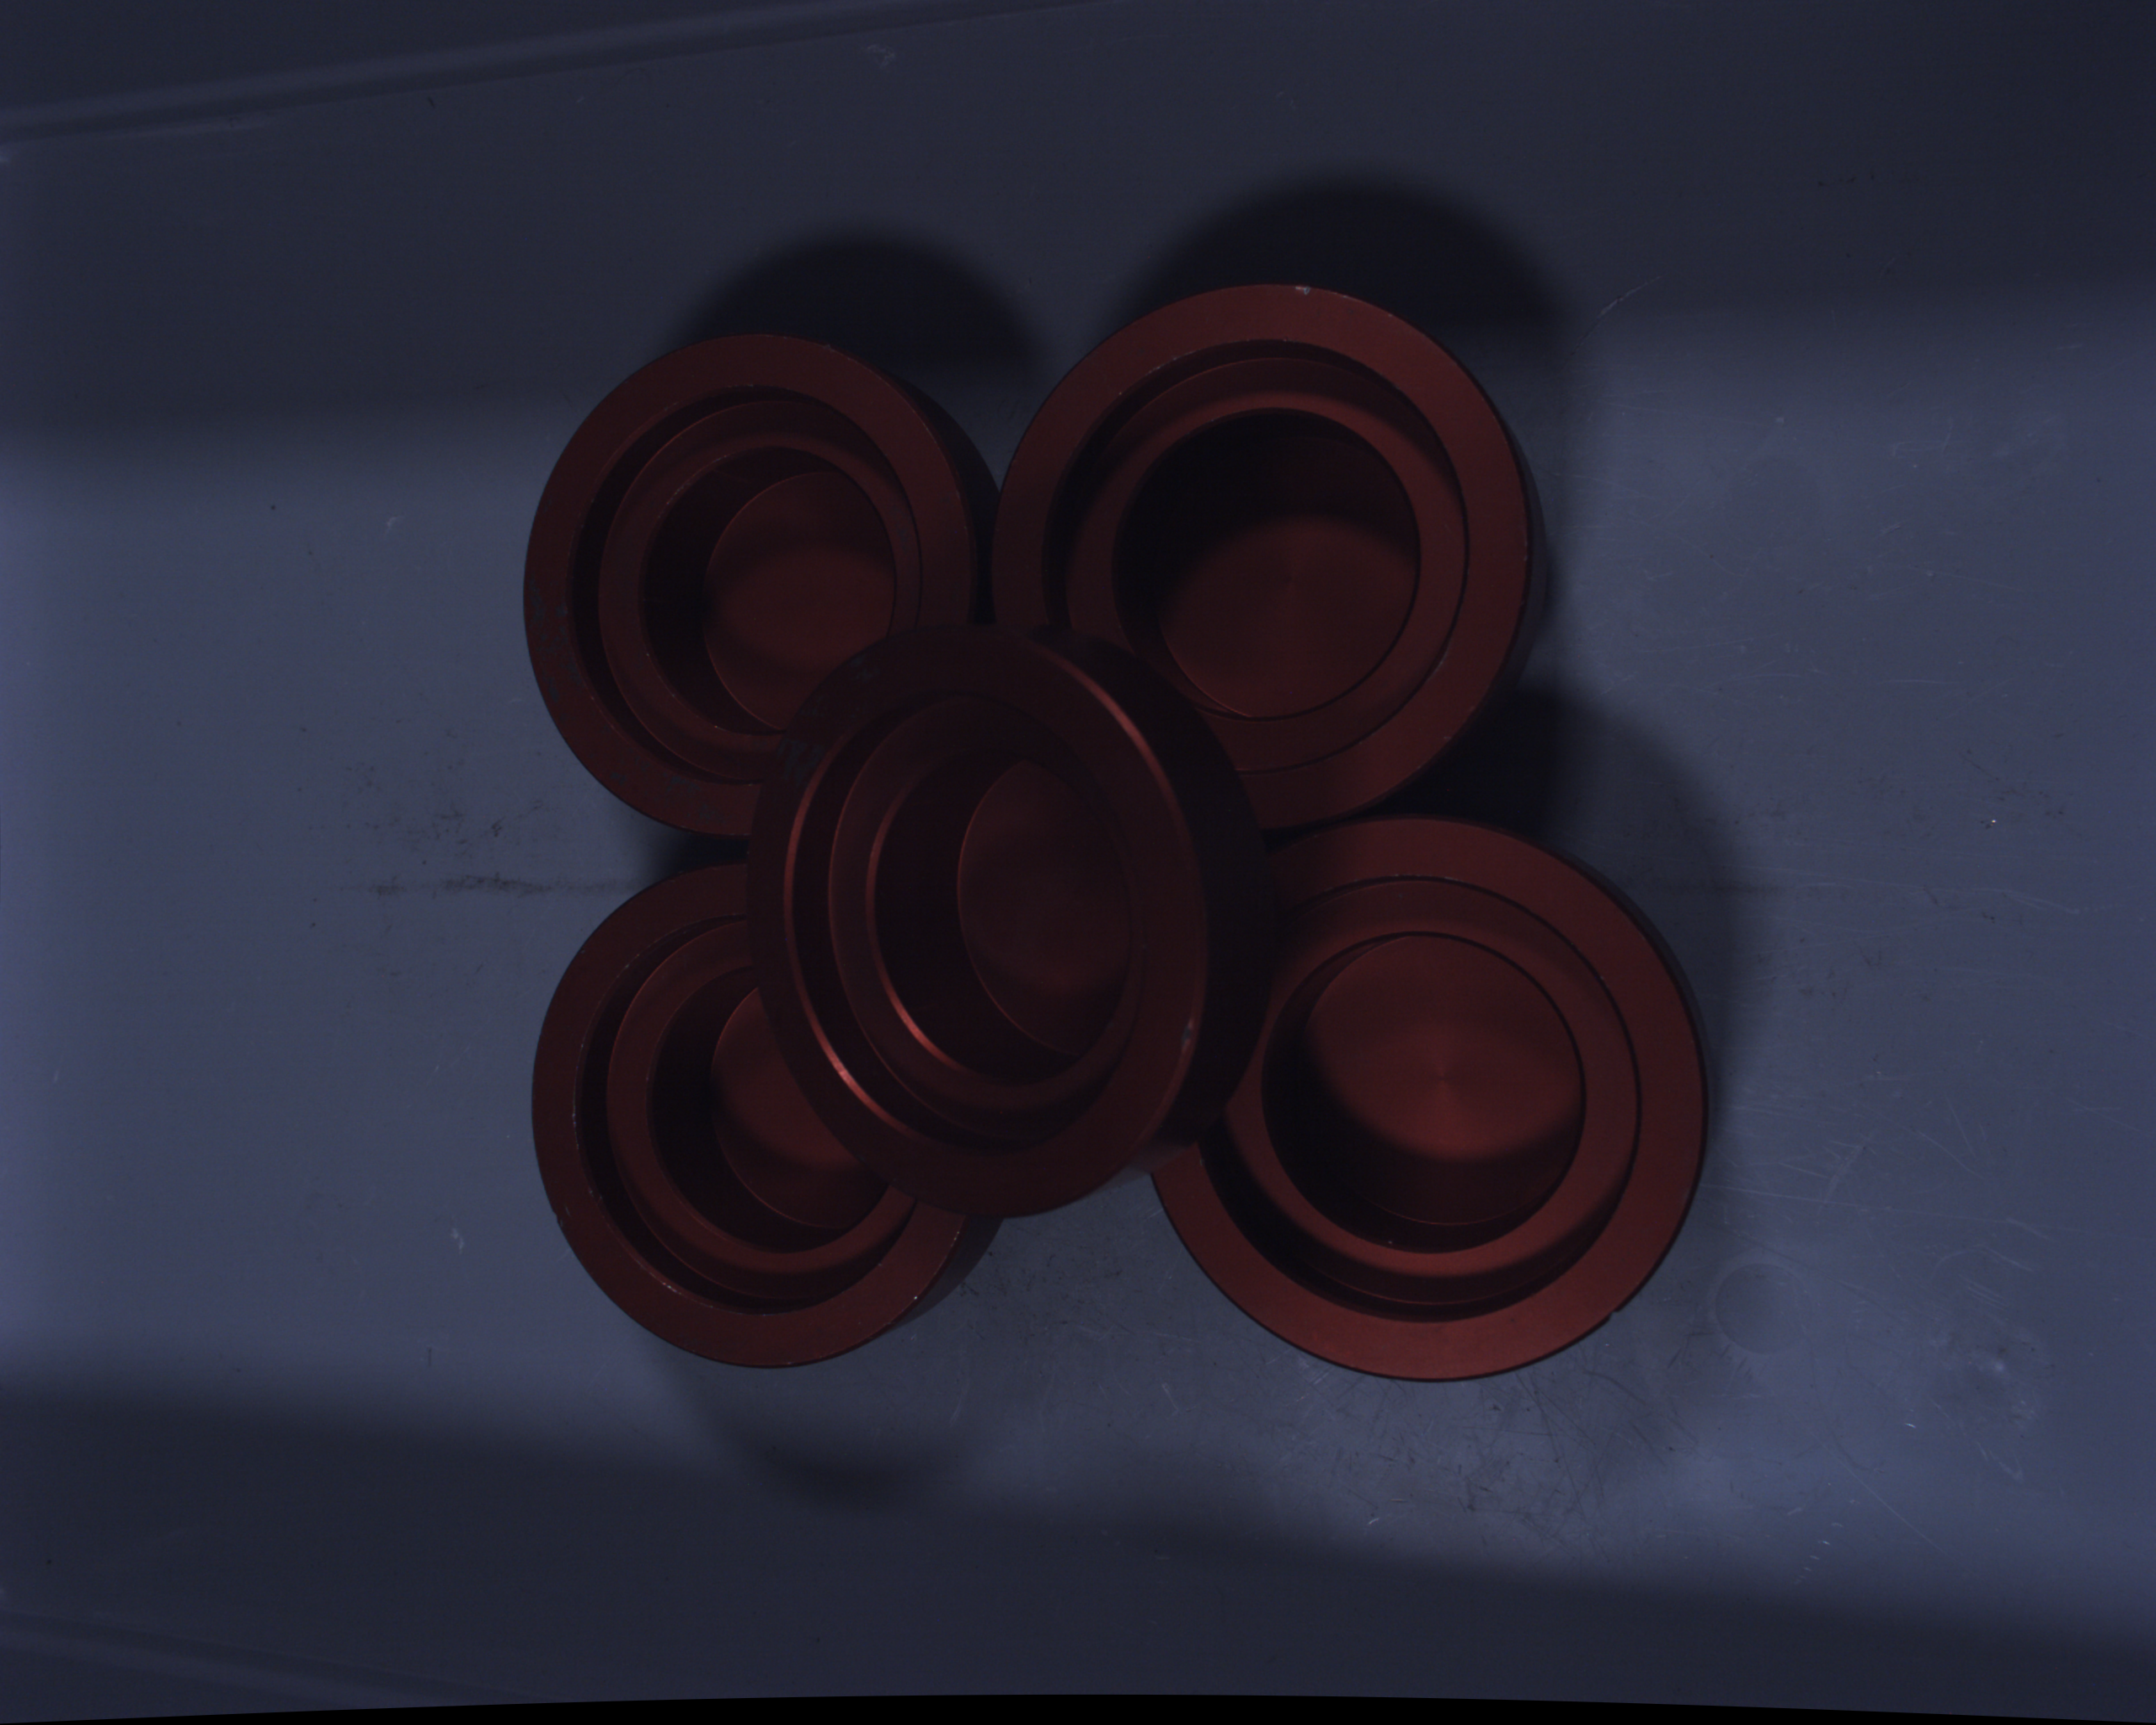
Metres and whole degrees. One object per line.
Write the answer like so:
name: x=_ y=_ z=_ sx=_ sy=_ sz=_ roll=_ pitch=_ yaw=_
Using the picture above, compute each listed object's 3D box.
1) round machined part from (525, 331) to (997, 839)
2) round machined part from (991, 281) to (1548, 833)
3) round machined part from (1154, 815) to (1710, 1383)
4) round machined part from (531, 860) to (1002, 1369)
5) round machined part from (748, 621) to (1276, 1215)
round machined part: x=-0.057 y=-0.053 z=0.419 sx=0.098 sy=0.042 sz=0.097 roll=0 pitch=90 yaw=19
round machined part: x=0.037 y=-0.054 z=0.386 sx=0.098 sy=0.042 sz=0.097 roll=0 pitch=90 yaw=19
round machined part: x=0.064 y=0.040 z=0.377 sx=0.098 sy=0.042 sz=0.097 roll=0 pitch=90 yaw=19
round machined part: x=-0.056 y=0.048 z=0.418 sx=0.098 sy=0.042 sz=0.097 roll=0 pitch=90 yaw=19
round machined part: x=-0.007 y=0.008 z=0.356 sx=0.098 sy=0.042 sz=0.097 roll=5 pitch=98 yaw=37
